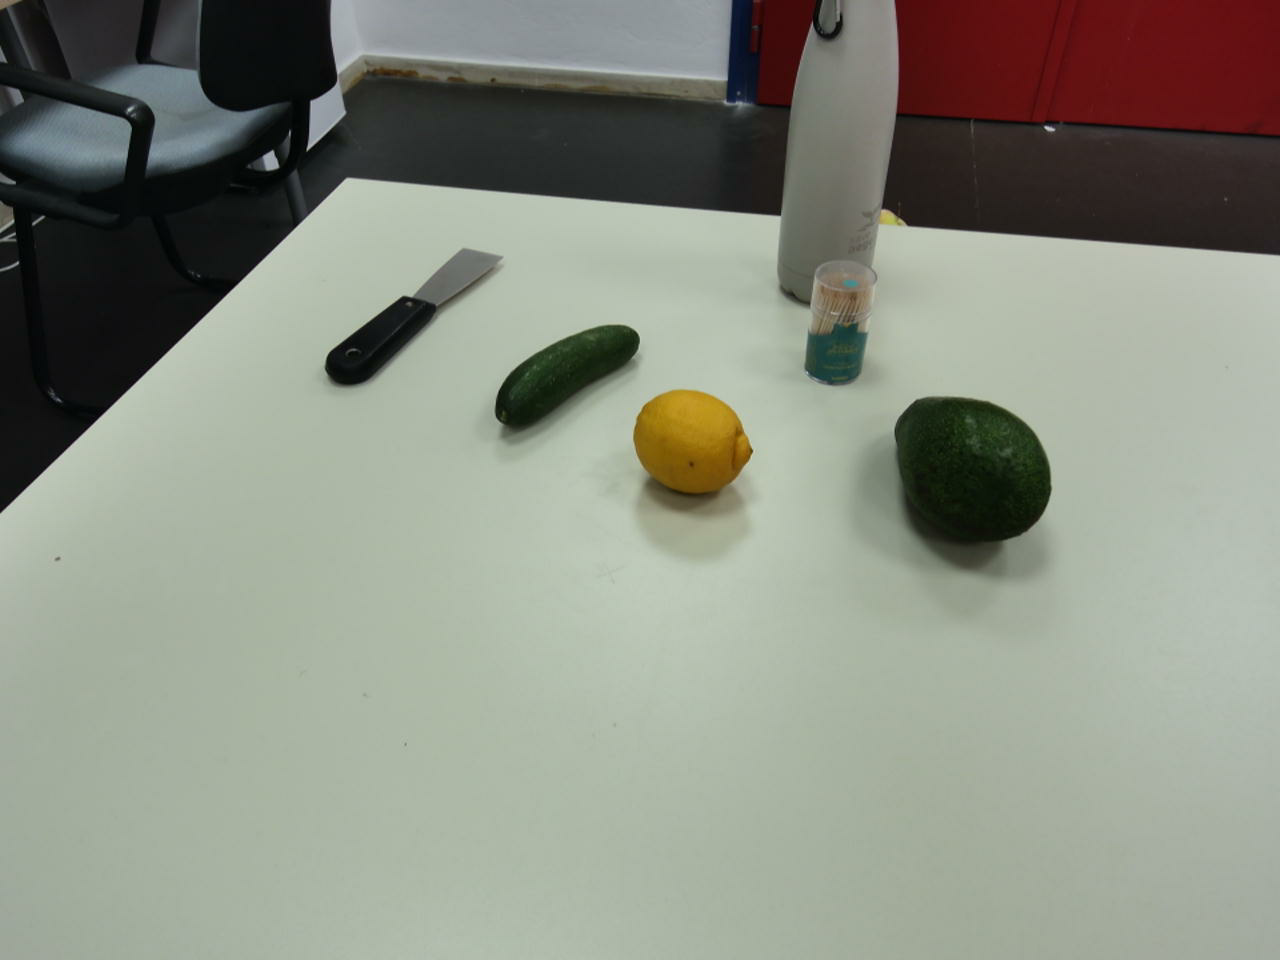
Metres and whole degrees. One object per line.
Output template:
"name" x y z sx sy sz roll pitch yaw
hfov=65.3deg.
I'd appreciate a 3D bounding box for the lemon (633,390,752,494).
"lemon" 0.030 -0.022 0.589 0.060 0.059 0.067 -24 45 -27
